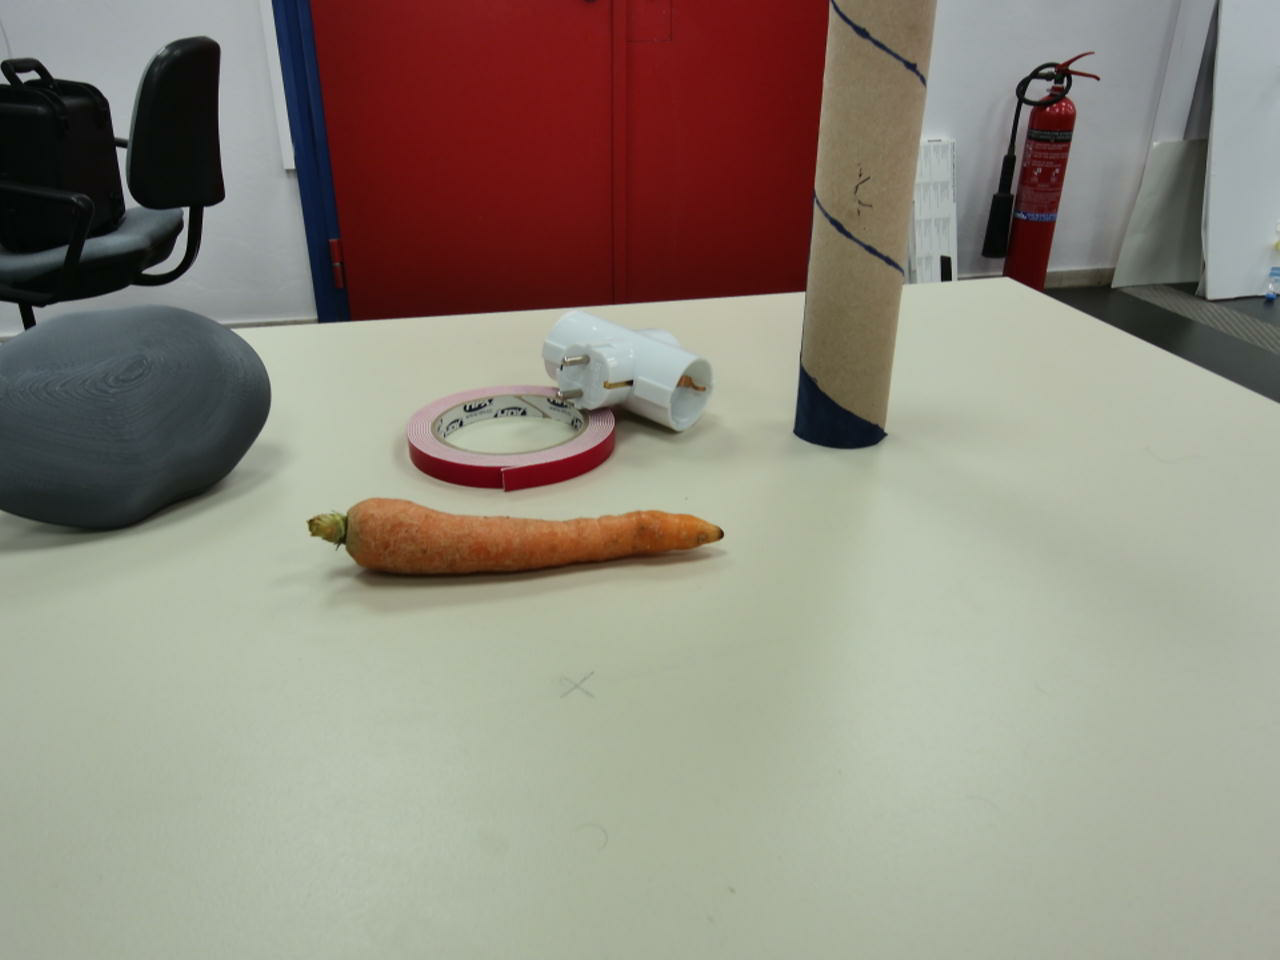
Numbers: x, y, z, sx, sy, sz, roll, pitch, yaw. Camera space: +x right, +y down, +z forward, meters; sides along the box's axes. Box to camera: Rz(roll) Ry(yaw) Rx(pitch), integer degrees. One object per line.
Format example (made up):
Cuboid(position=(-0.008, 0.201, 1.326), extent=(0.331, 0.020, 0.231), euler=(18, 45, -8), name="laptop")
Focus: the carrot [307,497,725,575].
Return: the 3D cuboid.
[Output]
Cuboid(position=(-0.048, 0.022, 0.417), extent=(0.173, 0.032, 0.030), euler=(-2, 24, -4), name="carrot")
